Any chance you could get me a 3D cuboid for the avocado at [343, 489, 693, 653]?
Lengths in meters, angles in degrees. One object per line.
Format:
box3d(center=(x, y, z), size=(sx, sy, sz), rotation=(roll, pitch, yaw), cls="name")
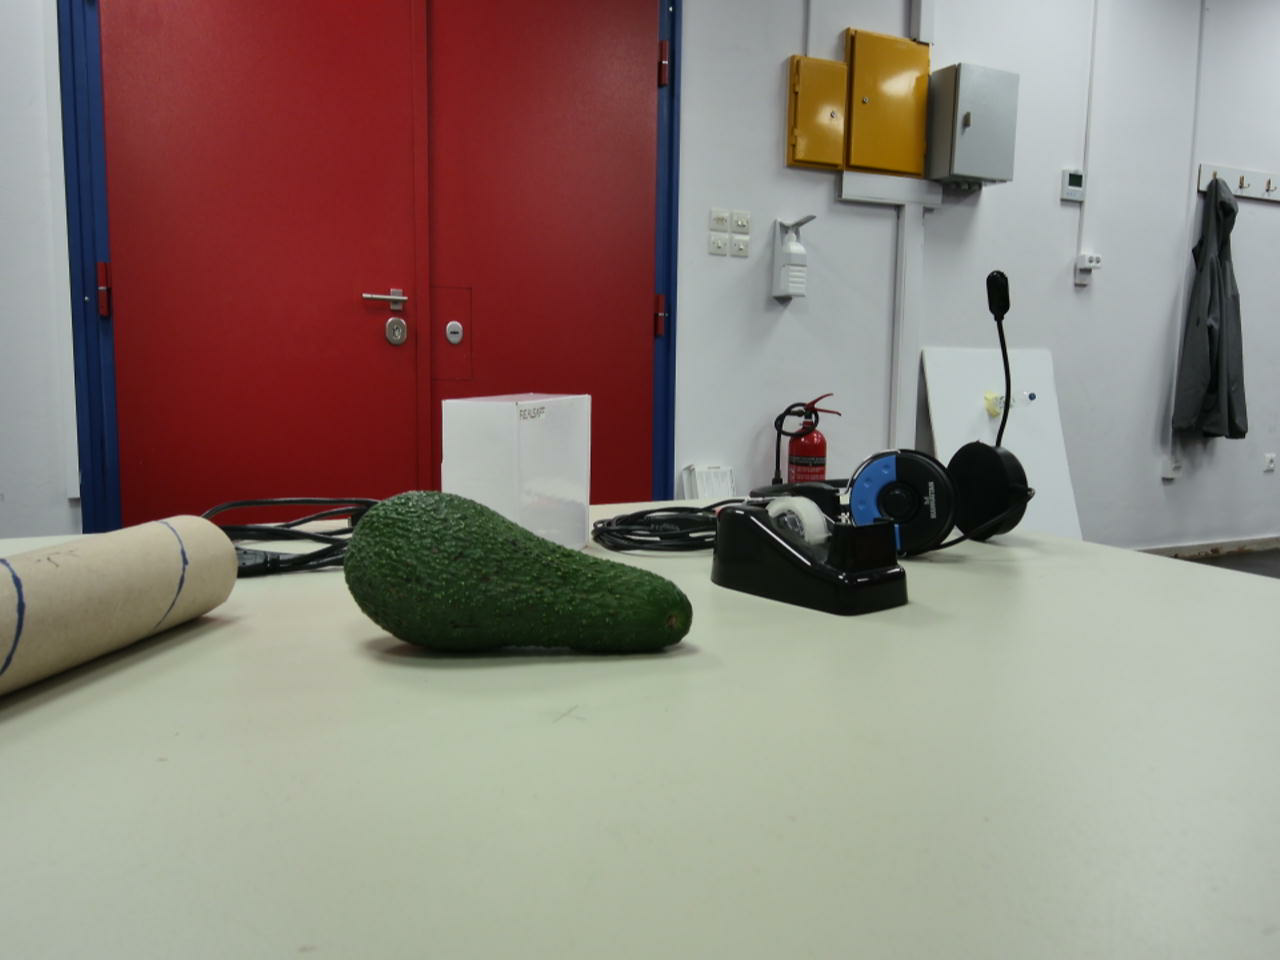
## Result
box3d(center=(-0.051, 0.037, 0.417), size=(0.141, 0.067, 0.063), rotation=(-1, 4, -11), cls="avocado")
